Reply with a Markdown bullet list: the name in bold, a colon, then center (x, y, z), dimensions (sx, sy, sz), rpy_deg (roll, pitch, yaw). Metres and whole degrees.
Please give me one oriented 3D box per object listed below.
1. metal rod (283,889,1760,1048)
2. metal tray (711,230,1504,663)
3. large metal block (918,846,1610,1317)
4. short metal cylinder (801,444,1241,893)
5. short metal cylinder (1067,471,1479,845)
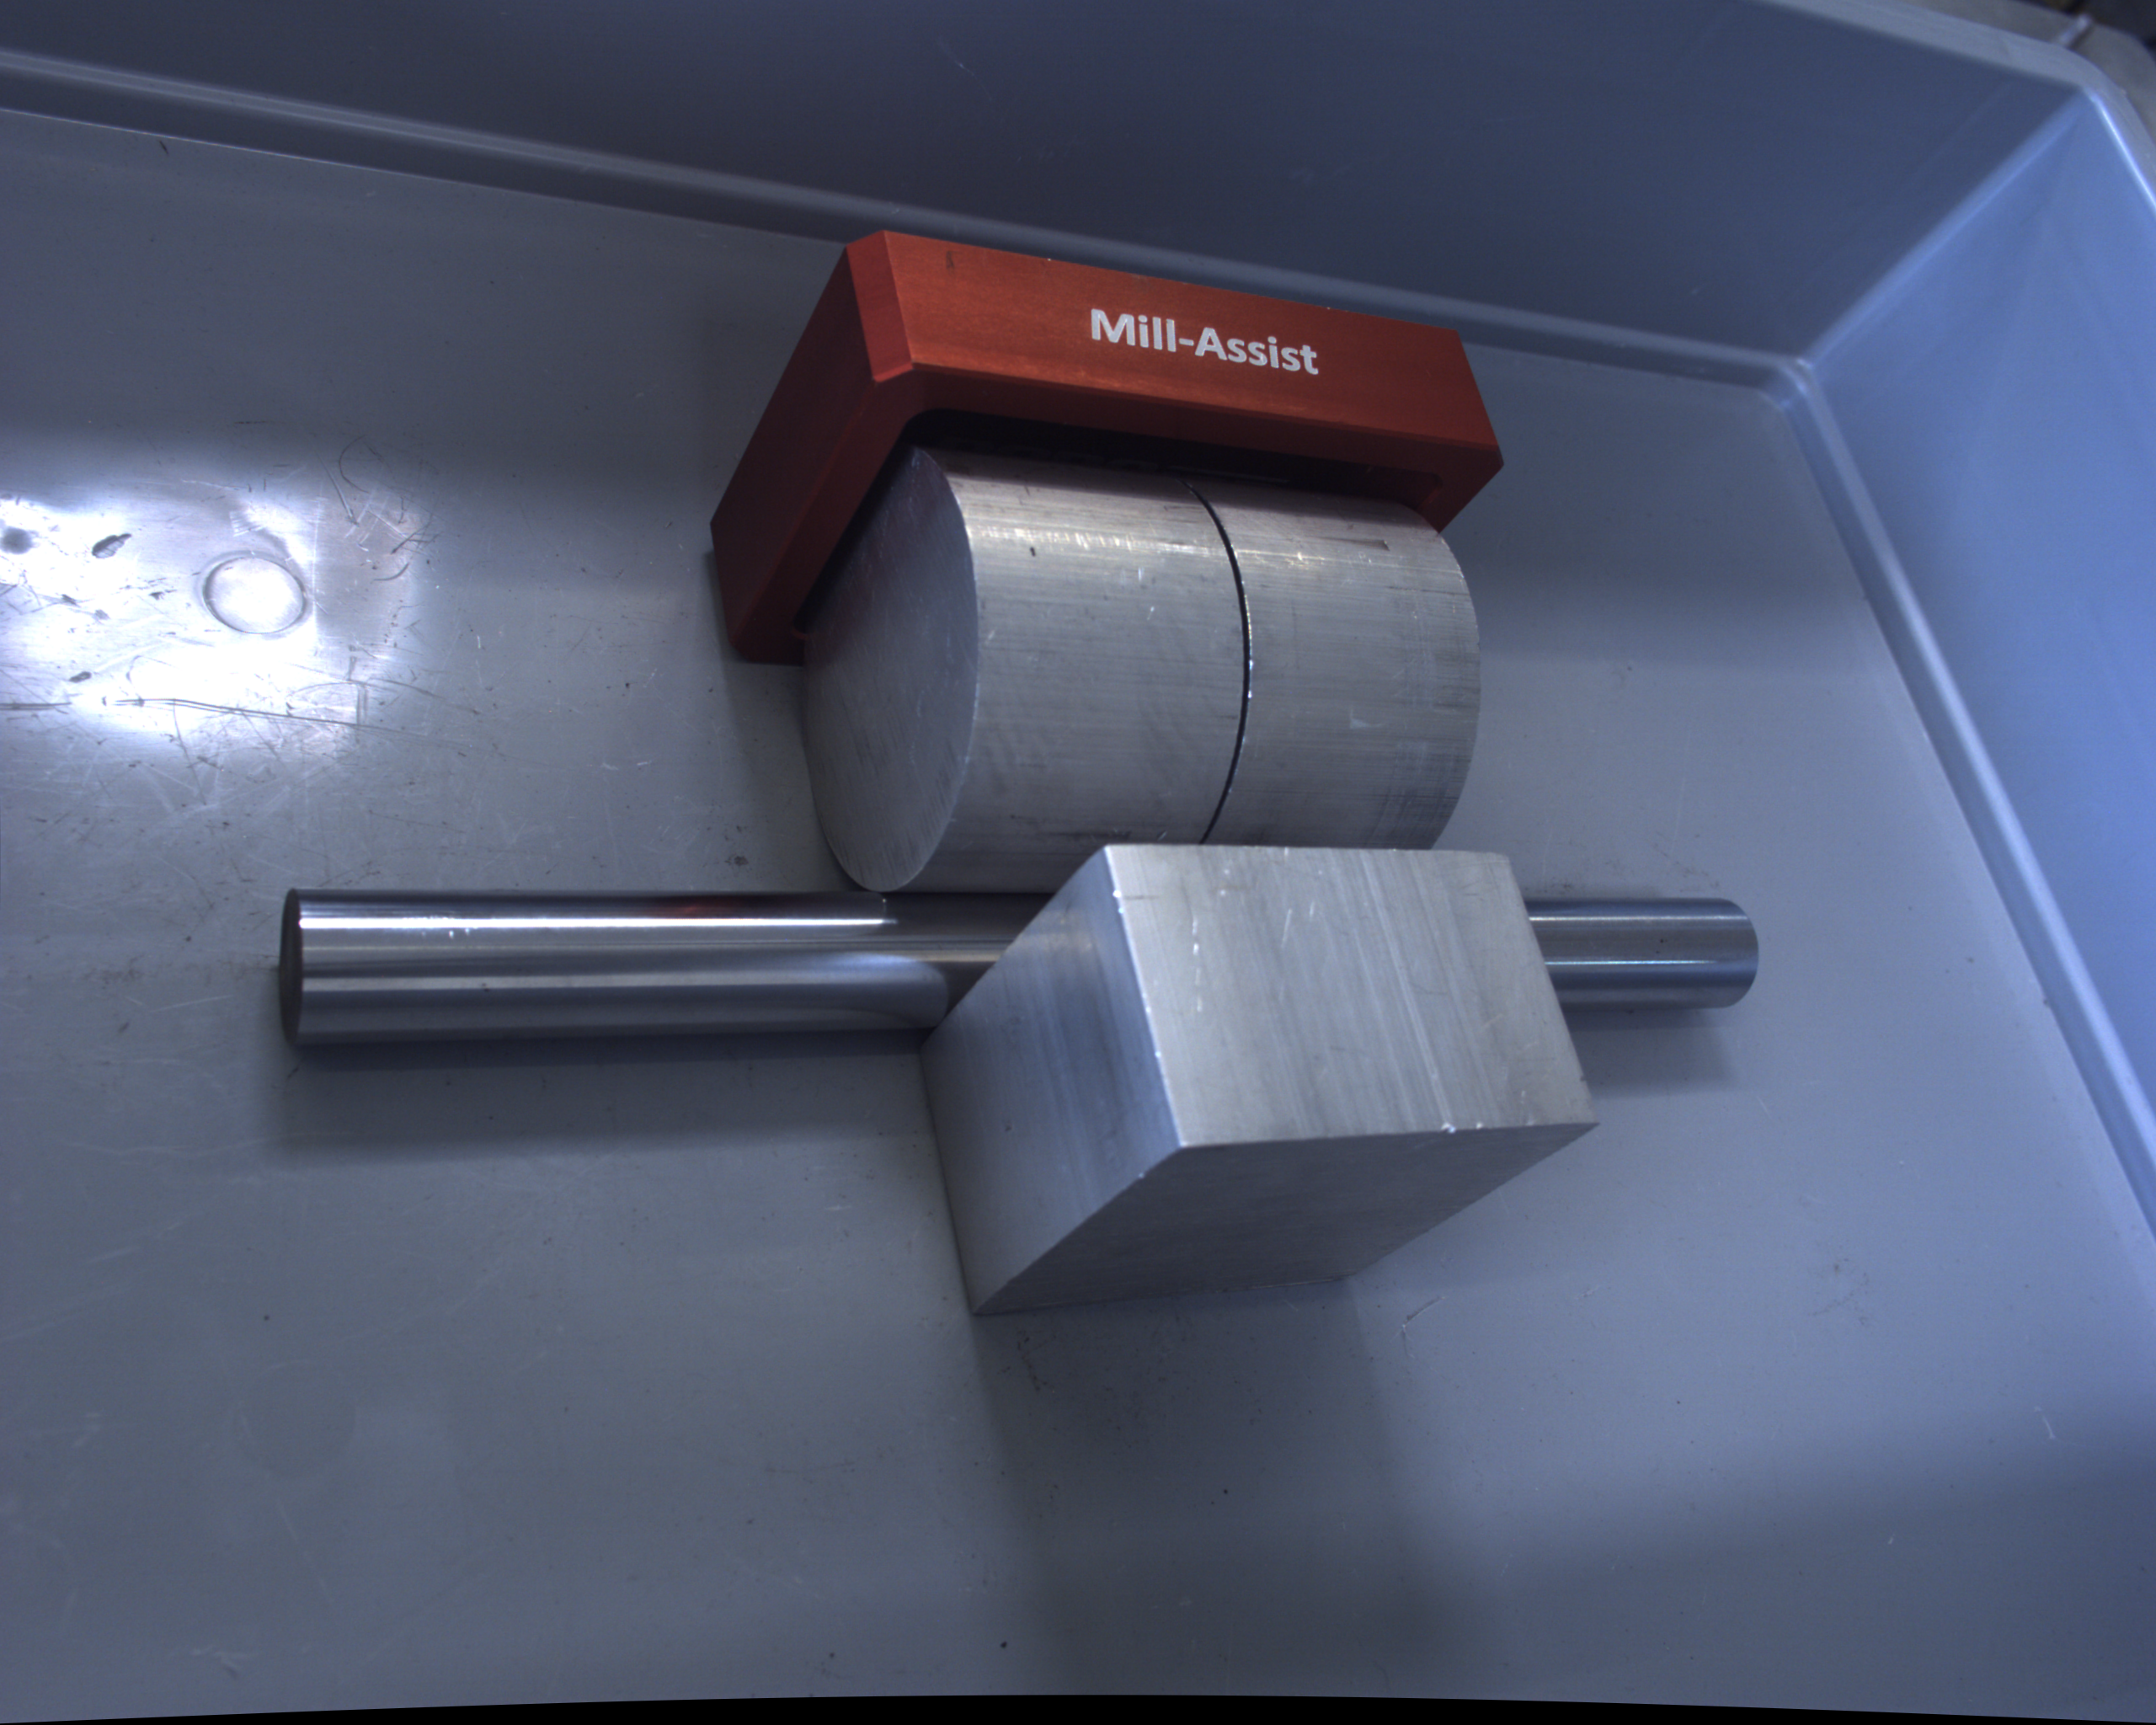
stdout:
- **metal rod**: center (0.010, 0.018, 0.397), dimensions (0.303, 0.025, 0.025), rpy_deg (1, 62, -28)
- **metal tray**: center (0.005, -0.072, 0.408), dimensions (0.131, 0.090, 0.030), rpy_deg (1, 62, -28)
- **large metal block**: center (0.028, 0.038, 0.359), dimensions (0.081, 0.080, 0.050), rpy_deg (1, 62, -28)
- **short metal cylinder**: center (-0.013, -0.034, 0.383), dimensions (0.050, 0.080, 0.080), rpy_deg (1, 62, -28)
- **short metal cylinder**: center (0.033, -0.034, 0.408), dimensions (0.050, 0.080, 0.080), rpy_deg (2, 61, -28)
